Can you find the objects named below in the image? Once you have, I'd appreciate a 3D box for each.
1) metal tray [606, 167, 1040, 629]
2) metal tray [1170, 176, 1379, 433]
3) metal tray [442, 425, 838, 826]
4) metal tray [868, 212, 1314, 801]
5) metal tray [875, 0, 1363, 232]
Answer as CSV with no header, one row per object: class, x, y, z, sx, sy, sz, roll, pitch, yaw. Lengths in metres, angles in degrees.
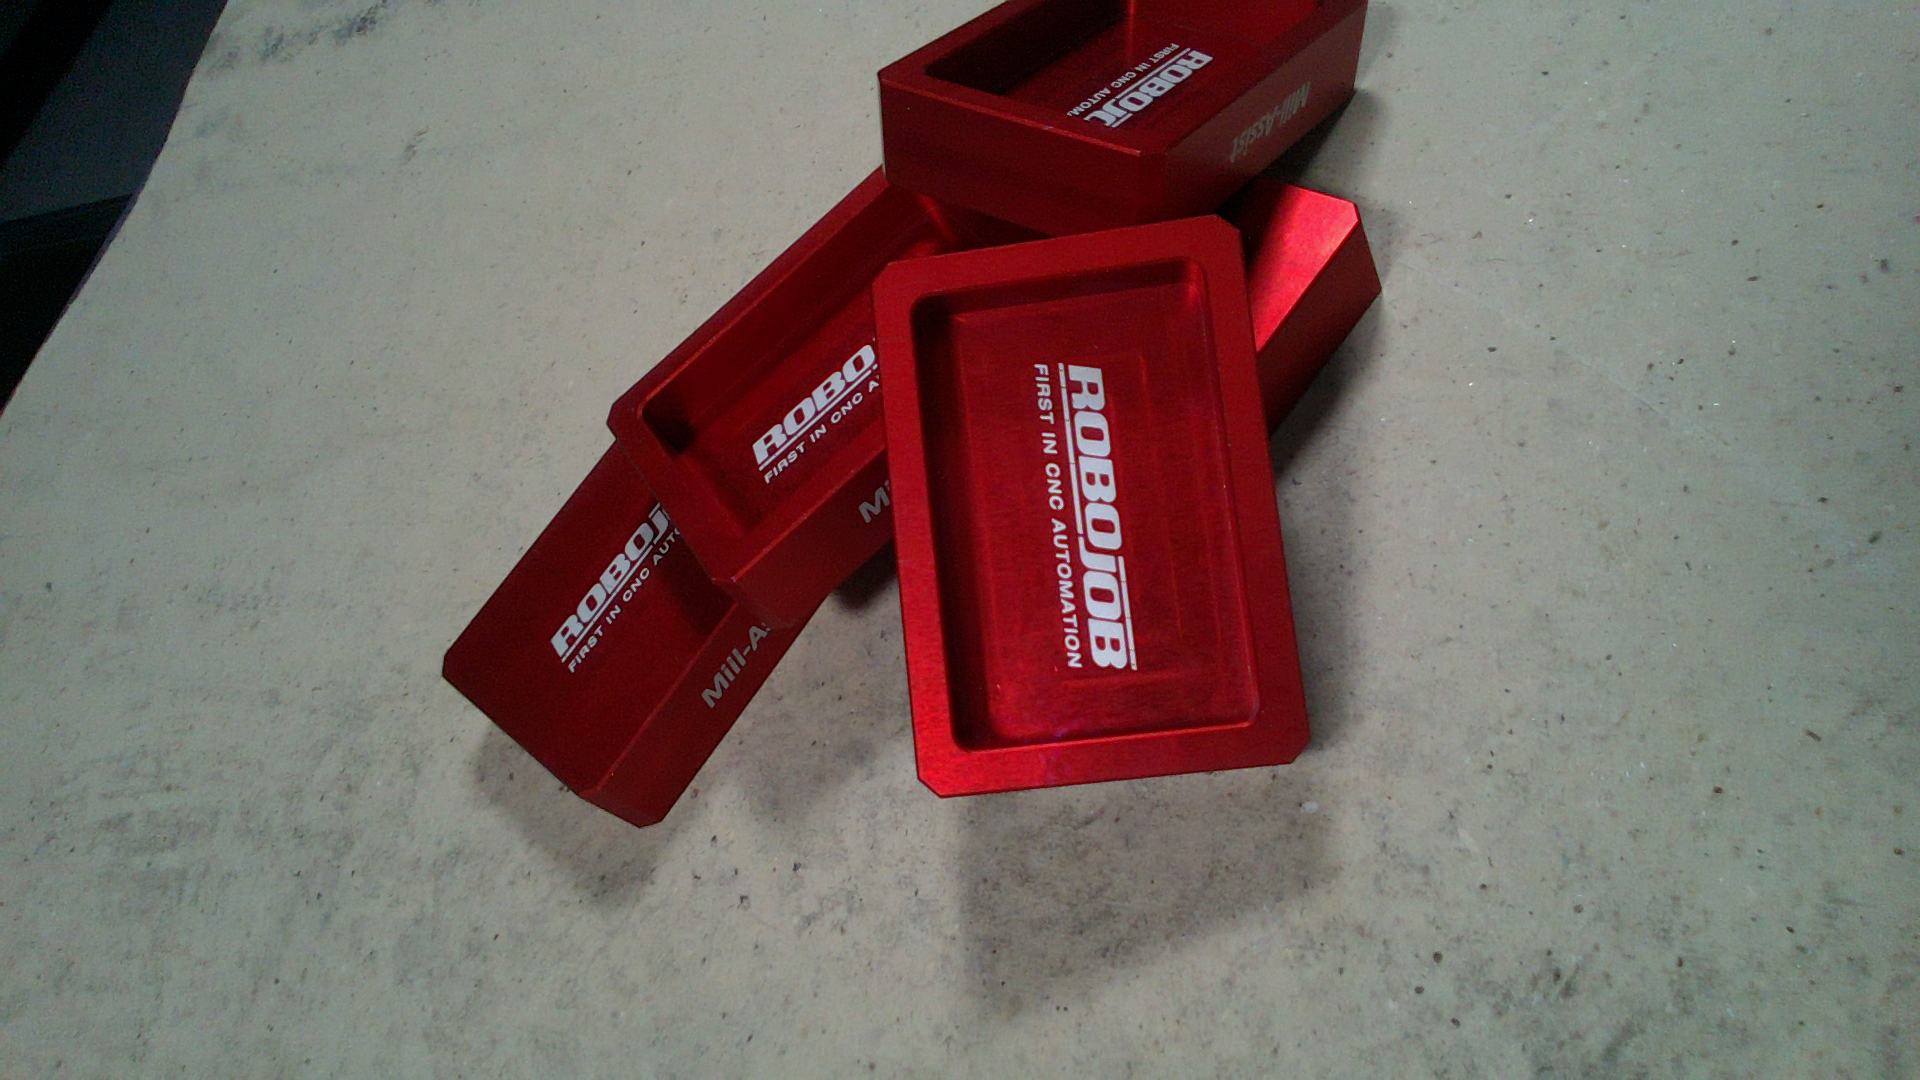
metal tray,-0.031,-0.048,0.399,0.130,0.030,0.090,-41,51,0
metal tray,0.045,-0.073,0.411,0.130,0.030,0.090,30,78,38
metal tray,-0.092,0.012,0.433,0.090,0.030,0.130,27,77,37
metal tray,0.030,-0.007,0.334,0.090,0.030,0.130,-7,81,6
metal tray,0.049,-0.132,0.401,0.090,0.030,0.130,25,47,27
